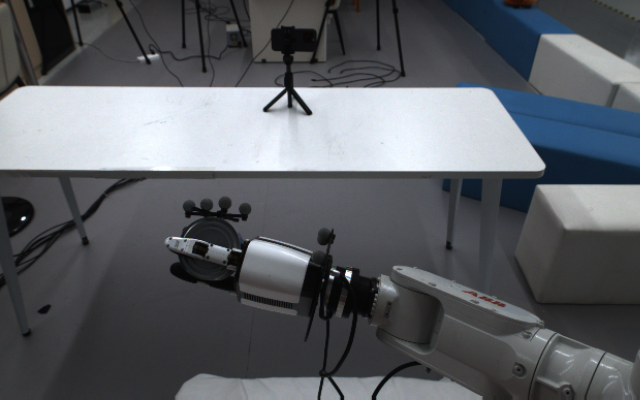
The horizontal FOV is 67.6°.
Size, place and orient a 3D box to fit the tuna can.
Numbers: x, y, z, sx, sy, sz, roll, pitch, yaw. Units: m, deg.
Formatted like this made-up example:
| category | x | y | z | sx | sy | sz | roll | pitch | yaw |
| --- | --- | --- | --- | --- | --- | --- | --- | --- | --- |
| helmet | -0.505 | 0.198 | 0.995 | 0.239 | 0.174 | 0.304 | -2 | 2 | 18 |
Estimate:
| category | x | y | z | sx | sy | sz | roll | pitch | yaw |
| --- | --- | --- | --- | --- | --- | --- | --- | --- | --- |
| tuna can | -0.147 | 0.068 | 0.663 | 0.085 | 0.034 | 0.085 | -1 | 76 | 3 |
